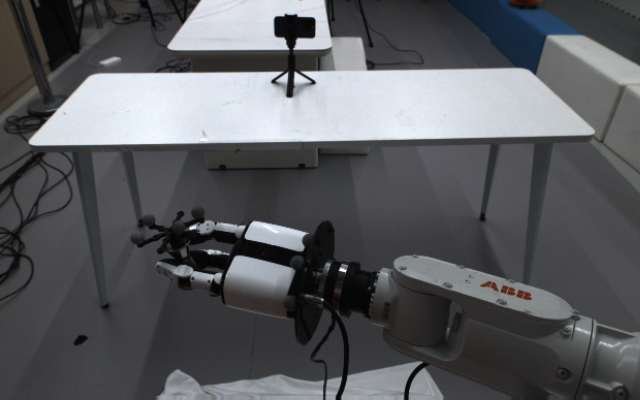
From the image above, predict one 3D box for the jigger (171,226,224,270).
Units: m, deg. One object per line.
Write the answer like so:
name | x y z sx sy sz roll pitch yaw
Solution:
jigger | -0.182 0.083 0.658 0.043 0.071 0.043 -10 32 6
